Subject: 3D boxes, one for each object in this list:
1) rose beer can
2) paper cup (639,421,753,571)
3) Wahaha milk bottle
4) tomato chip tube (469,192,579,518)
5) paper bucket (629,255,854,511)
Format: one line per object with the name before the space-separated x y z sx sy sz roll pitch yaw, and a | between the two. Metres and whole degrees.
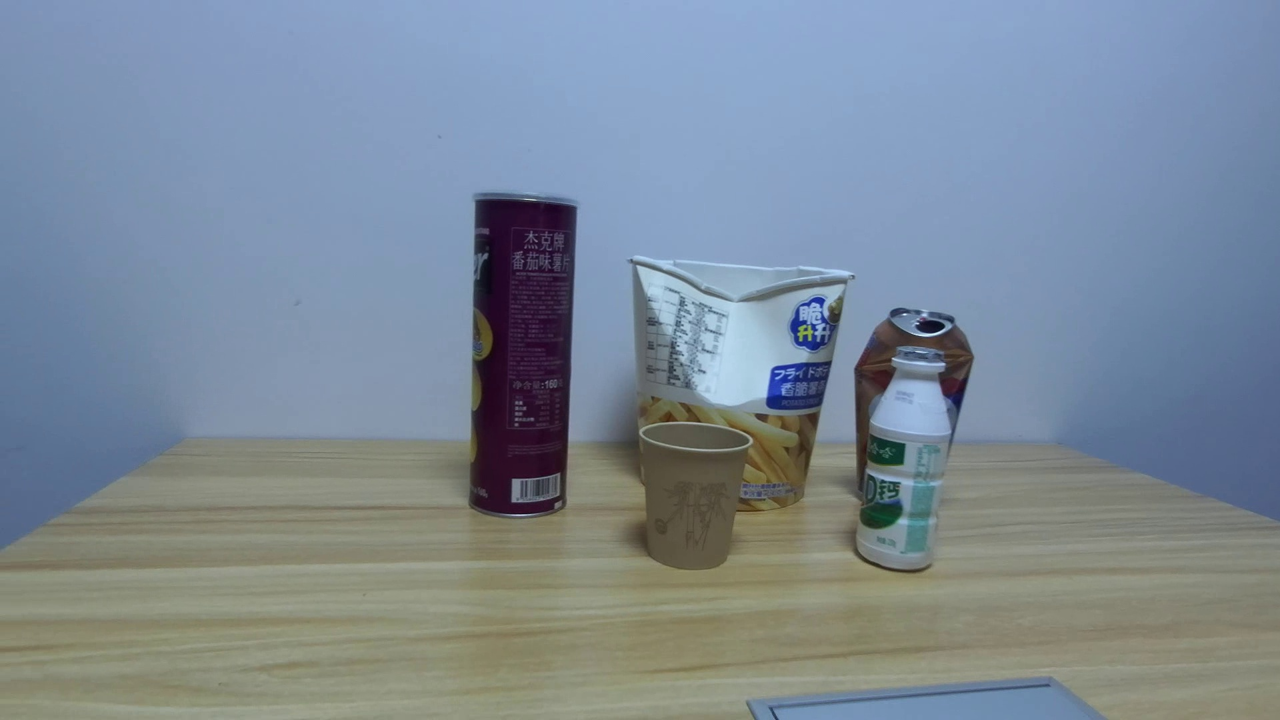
rose beer can | 0.224 0.046 0.588 0.069 0.168 0.069 10 -2 -42
paper cup | 0.035 0.090 0.470 0.075 0.082 0.075 3 9 0
Wahaha milk bottle | 0.180 0.065 0.478 0.053 0.147 0.053 4 8 0
tomato chip tube | -0.089 -0.004 0.542 0.078 0.233 0.078 3 8 0
paper bucket | 0.069 0.014 0.615 0.163 0.202 0.168 0 6 -12
